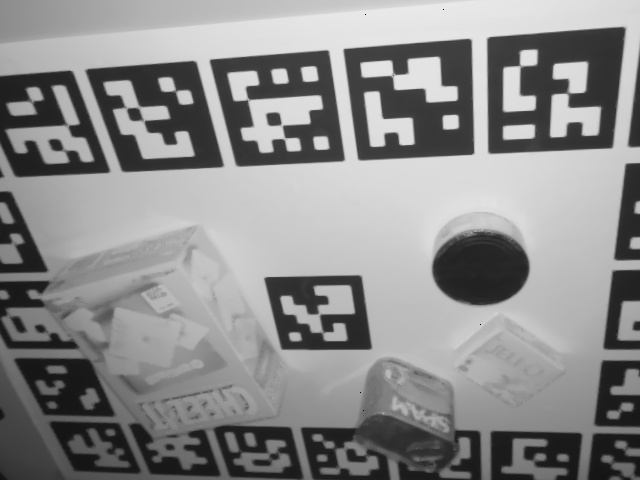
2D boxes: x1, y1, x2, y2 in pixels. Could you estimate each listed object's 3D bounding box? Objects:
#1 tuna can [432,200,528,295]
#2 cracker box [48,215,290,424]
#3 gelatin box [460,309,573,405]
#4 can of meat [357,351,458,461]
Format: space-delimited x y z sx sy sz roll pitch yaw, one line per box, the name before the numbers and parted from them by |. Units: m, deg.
tuna can | 0.148 0.007 0.645 0.085 0.034 0.085 3 120 7
cracker box | -0.156 0.094 0.740 0.162 0.073 0.213 -17 120 21
gelatin box | 0.202 0.123 0.717 0.089 0.030 0.072 34 125 -10
can of meat | 0.096 0.176 0.746 0.102 0.084 0.057 23 124 -6
